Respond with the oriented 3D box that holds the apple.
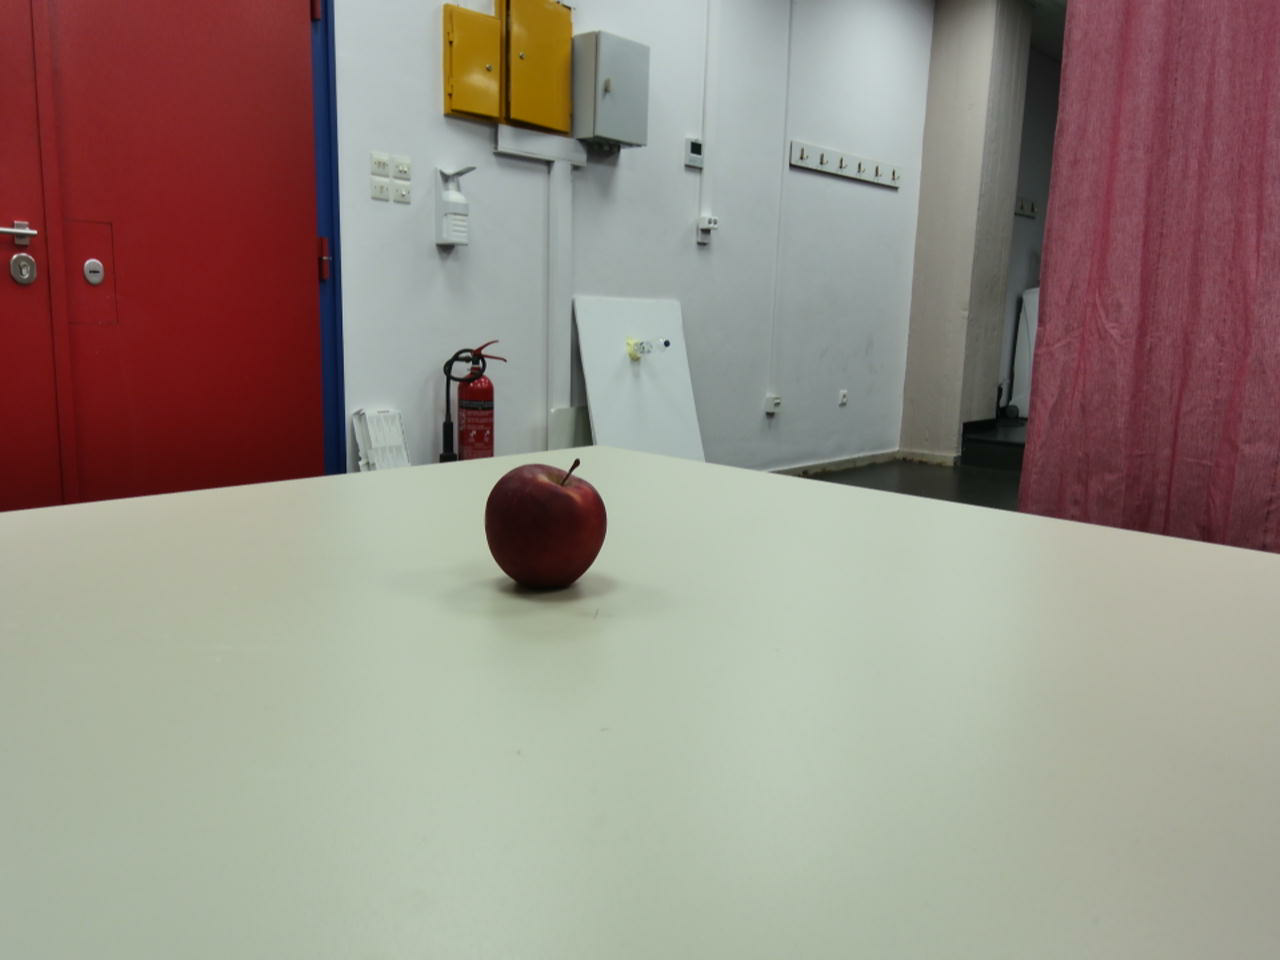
[{"bbox_3d":[-0.054,0.026,0.576,0.070,0.072,0.070,0,8,0],"label":"apple"}]
